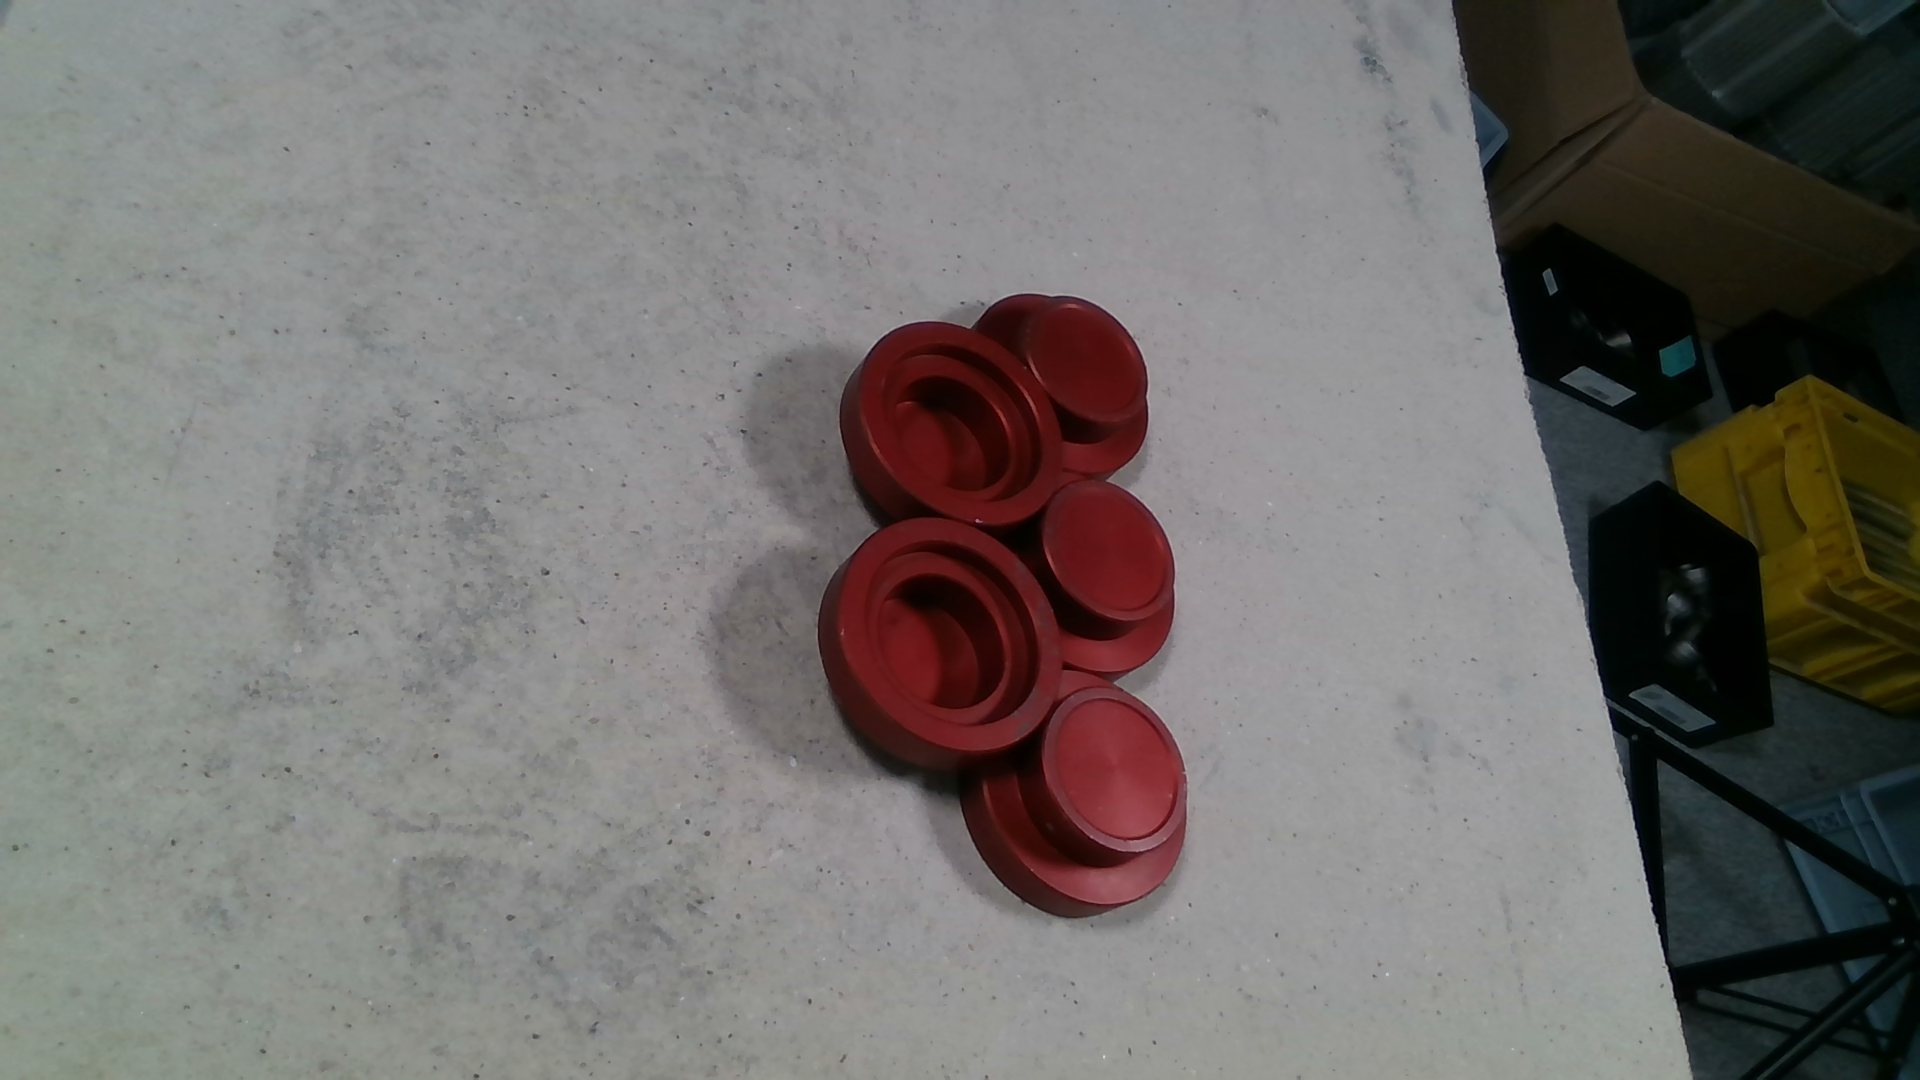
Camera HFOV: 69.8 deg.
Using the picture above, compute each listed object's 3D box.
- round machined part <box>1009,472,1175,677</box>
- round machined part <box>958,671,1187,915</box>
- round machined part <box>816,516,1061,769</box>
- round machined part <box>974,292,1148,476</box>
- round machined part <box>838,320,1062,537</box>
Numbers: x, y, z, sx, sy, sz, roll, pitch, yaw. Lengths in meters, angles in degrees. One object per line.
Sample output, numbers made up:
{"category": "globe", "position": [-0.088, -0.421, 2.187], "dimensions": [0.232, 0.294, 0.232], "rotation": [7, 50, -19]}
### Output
{"category": "round machined part", "position": [0.055, 0.013, 0.602], "dimensions": [0.098, 0.042, 0.098], "rotation": [14, 59, -25]}
{"category": "round machined part", "position": [0.052, 0.098, 0.554], "dimensions": [0.098, 0.042, 0.098], "rotation": [14, 59, -25]}
{"category": "round machined part", "position": [-0.012, 0.043, 0.544], "dimensions": [0.098, 0.042, 0.098], "rotation": [14, 59, -25]}
{"category": "round machined part", "position": [0.049, -0.075, 0.646], "dimensions": [0.098, 0.042, 0.098], "rotation": [14, 59, -25]}
{"category": "round machined part", "position": [-0.008, -0.042, 0.593], "dimensions": [0.098, 0.042, 0.098], "rotation": [14, 59, -25]}
